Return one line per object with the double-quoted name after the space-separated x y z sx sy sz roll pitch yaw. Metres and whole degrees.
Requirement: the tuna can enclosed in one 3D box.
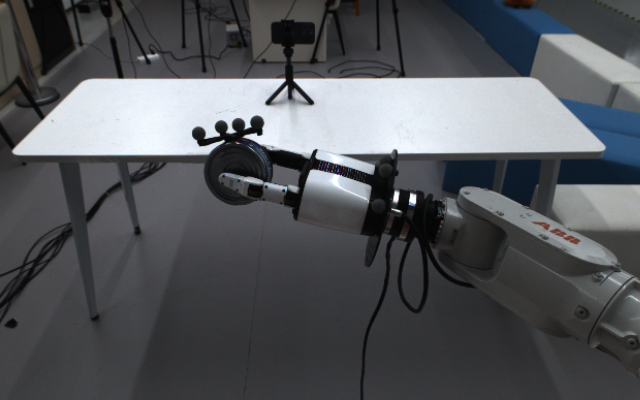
-0.103 -0.030 0.632 0.085 0.085 0.034 6 18 6 "tuna can"
